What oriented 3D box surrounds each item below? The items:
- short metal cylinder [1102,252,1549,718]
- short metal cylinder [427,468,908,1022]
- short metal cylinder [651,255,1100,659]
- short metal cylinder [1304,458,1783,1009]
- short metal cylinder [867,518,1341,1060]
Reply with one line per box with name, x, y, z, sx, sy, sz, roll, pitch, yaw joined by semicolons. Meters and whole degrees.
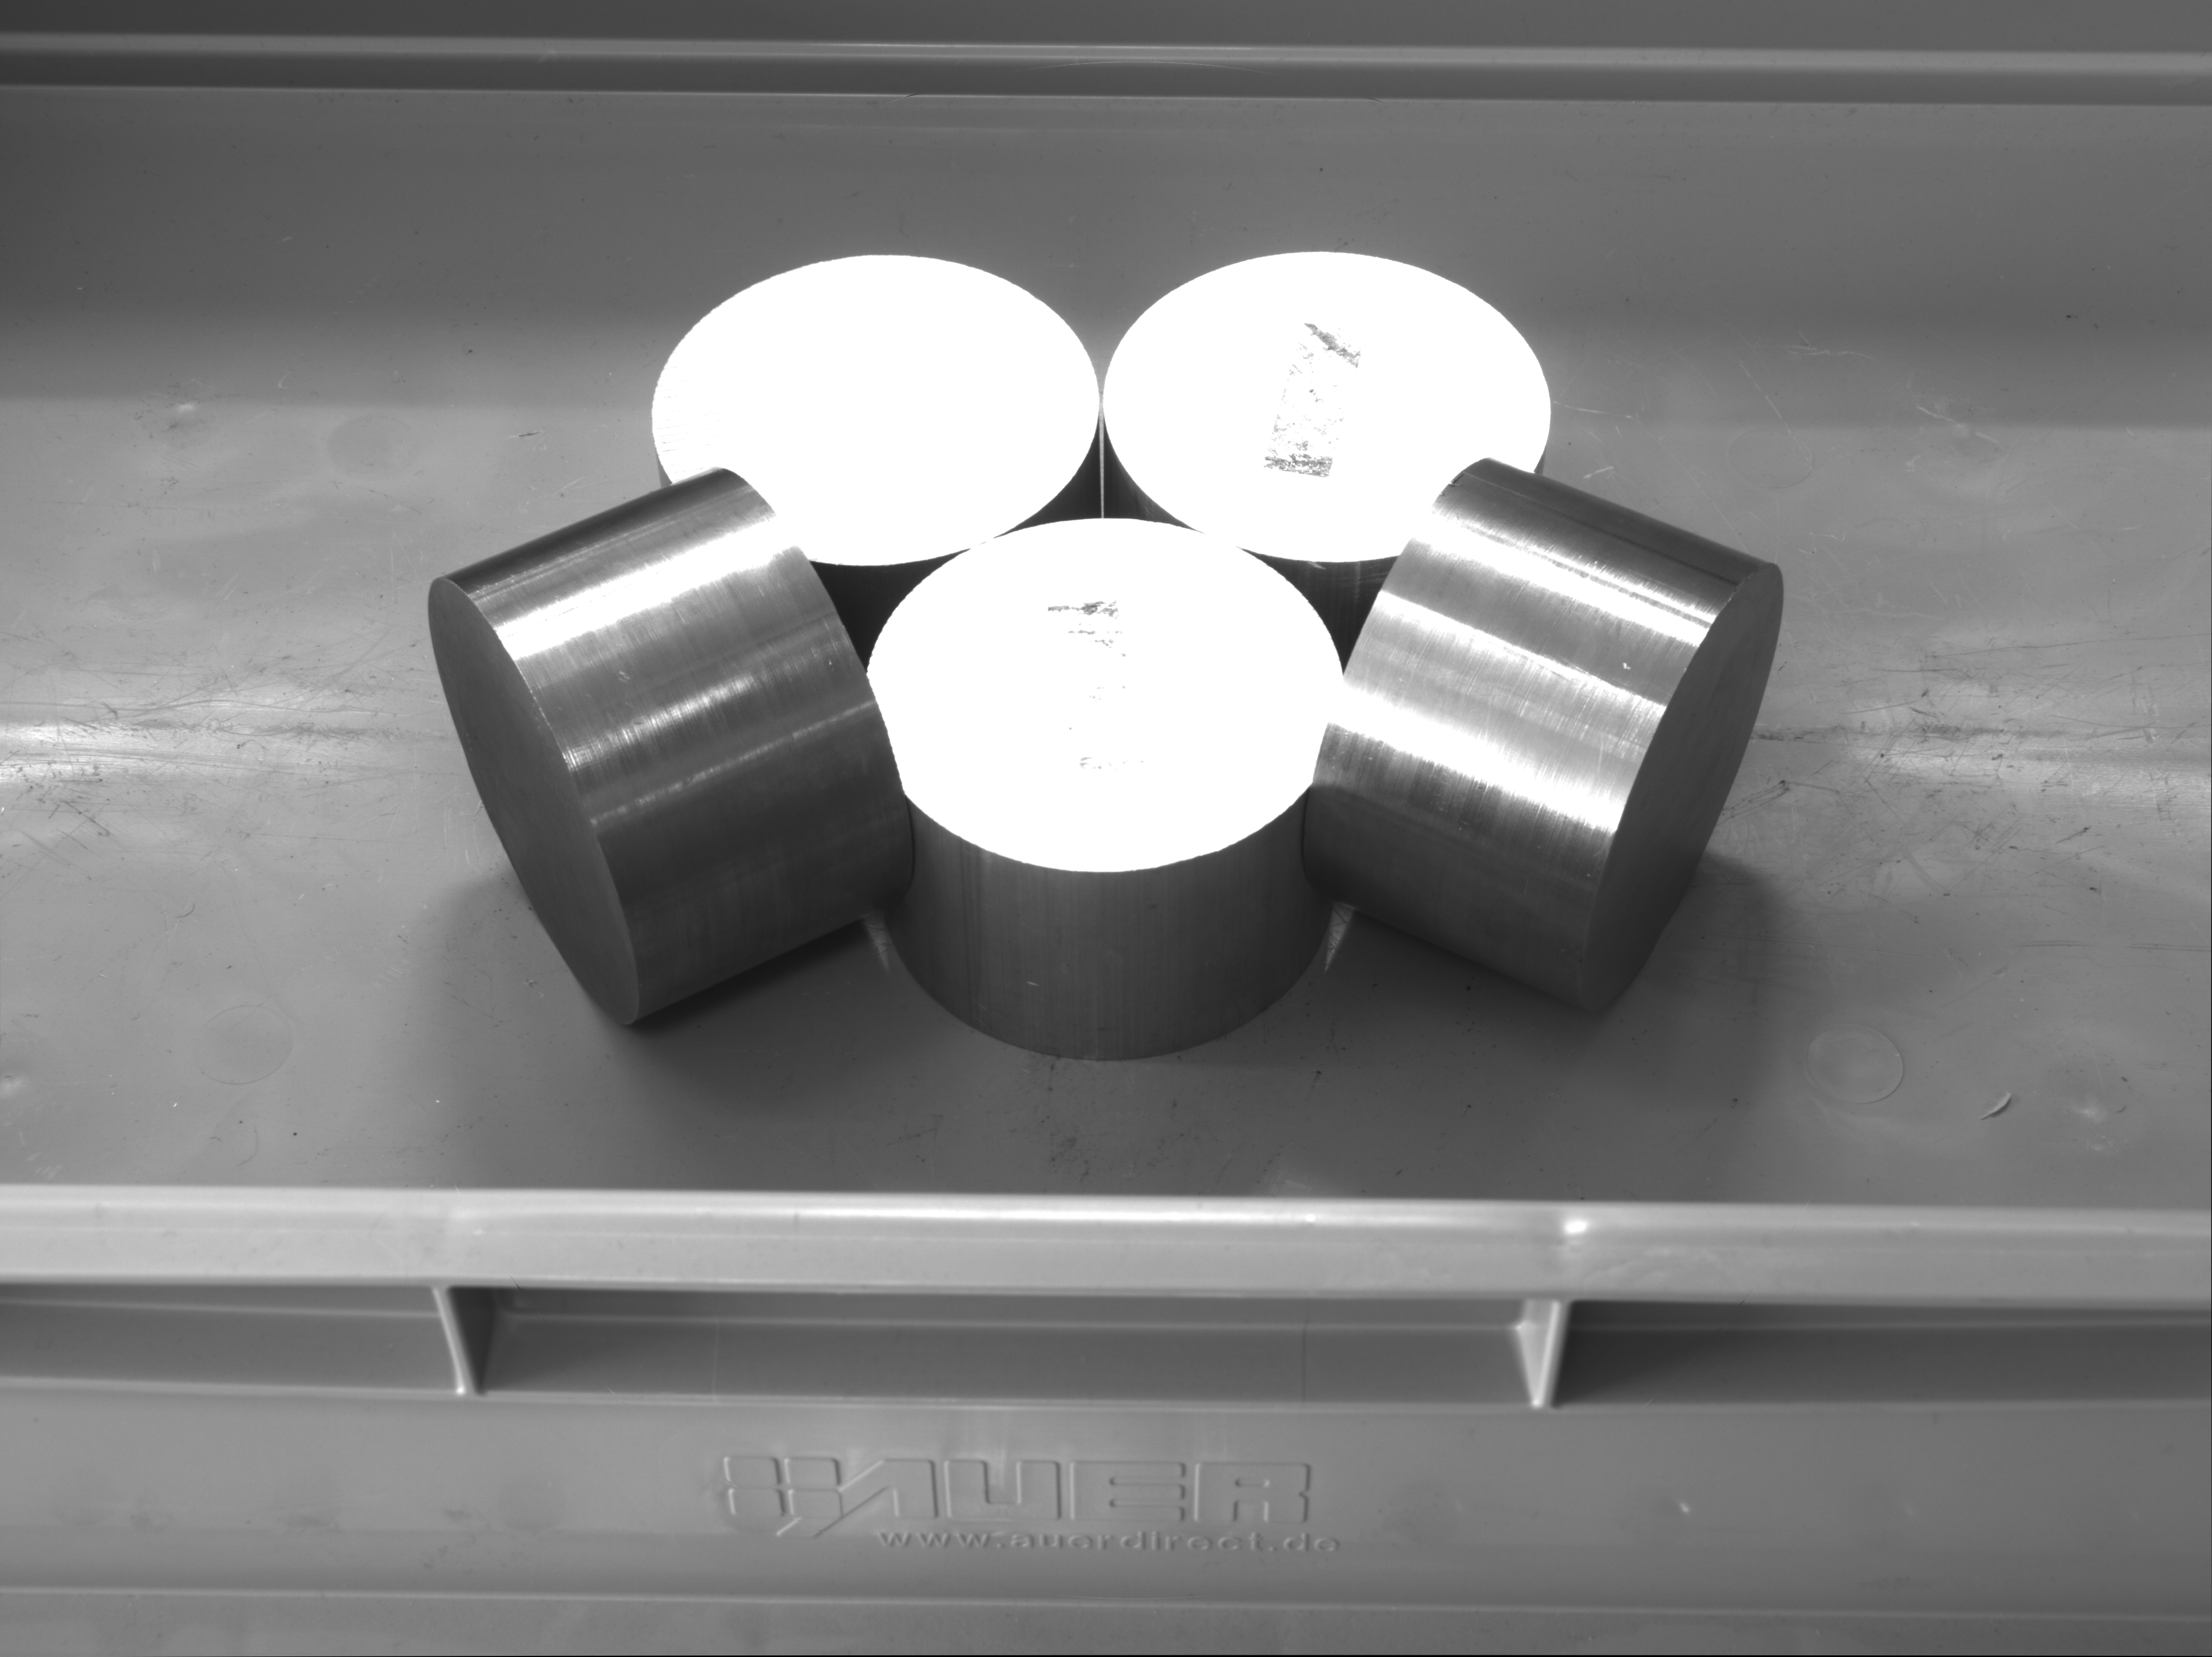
short metal cylinder;0.039;-0.060;0.675;0.080;0.050;0.080;0;50;0
short metal cylinder;-0.074;-0.014;0.616;0.050;0.080;0.080;-24;54;-19
short metal cylinder;-0.041;-0.060;0.675;0.080;0.050;0.080;0;50;0
short metal cylinder;0.074;-0.016;0.618;0.050;0.080;0.080;23;54;19
short metal cylinder;0.000;-0.007;0.630;0.080;0.050;0.080;0;50;0
